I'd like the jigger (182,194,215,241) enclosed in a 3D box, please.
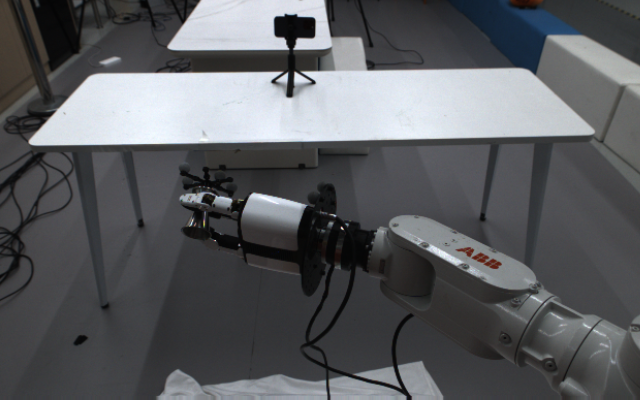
[{"bbox_3d":[-0.177,0.017,0.713,0.043,0.043,0.071,4,61,3],"label":"jigger"}]
